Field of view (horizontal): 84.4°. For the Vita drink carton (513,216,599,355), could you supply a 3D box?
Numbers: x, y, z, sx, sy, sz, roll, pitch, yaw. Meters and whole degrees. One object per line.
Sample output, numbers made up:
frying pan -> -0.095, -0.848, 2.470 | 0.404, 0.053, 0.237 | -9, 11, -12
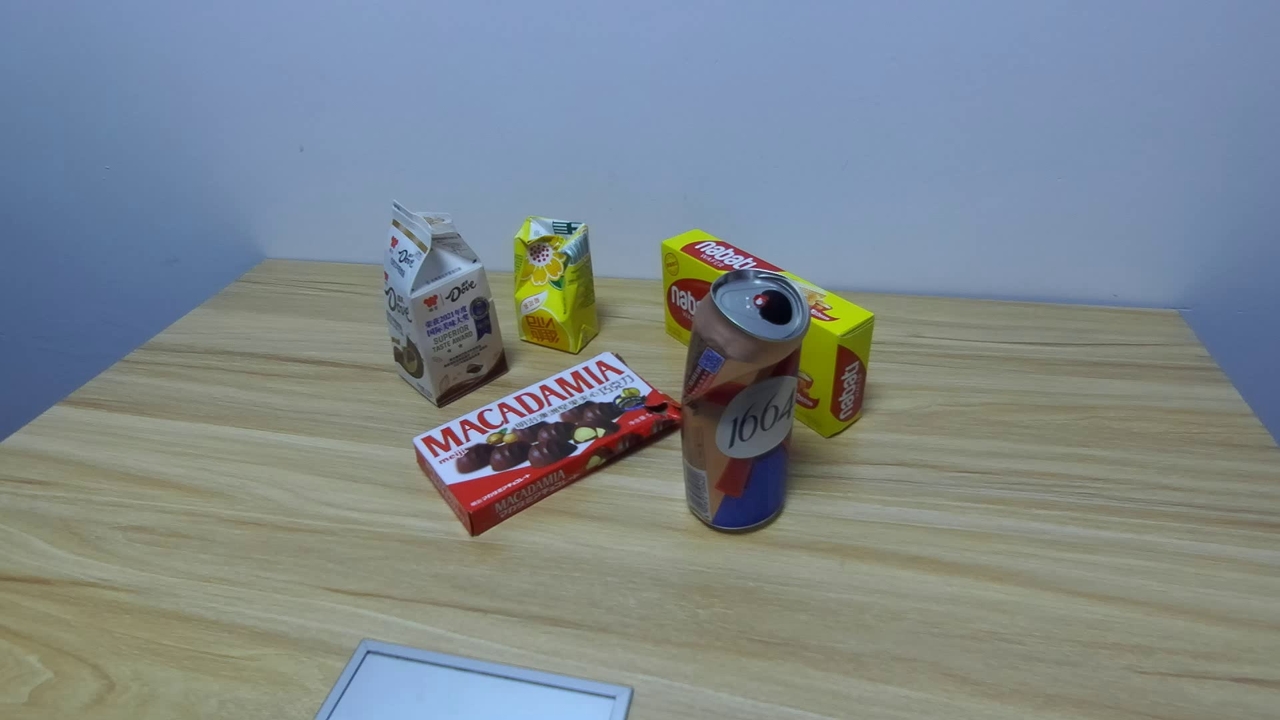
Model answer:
Vita drink carton -> -0.079, -0.066, 0.633 | 0.071, 0.110, 0.046 | 12, 34, 26

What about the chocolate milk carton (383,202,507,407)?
chocolate milk carton -> -0.170, -0.052, 0.582 | 0.073, 0.155, 0.084 | -29, 41, -31

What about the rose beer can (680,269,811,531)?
rose beer can -> 0.061, 0.029, 0.429 | 0.070, 0.168, 0.069 | 3, 36, 7

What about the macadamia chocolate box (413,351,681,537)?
macadamia chocolate box -> -0.063, 0.054, 0.532 | 0.187, 0.027, 0.102 | -26, 43, -28

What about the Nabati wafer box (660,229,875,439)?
Nabati wafer box -> 0.093, -0.028, 0.569 | 0.042, 0.093, 0.202 | -24, 39, -27
